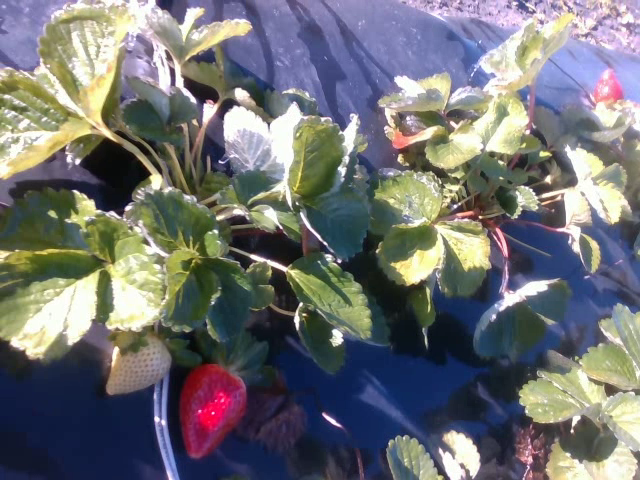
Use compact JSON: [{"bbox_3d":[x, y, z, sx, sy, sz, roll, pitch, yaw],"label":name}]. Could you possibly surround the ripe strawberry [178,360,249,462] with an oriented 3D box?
[{"bbox_3d":[-0.070,0.118,0.425,0.040,0.063,0.080,-9,39,23],"label":"ripe strawberry"}]
